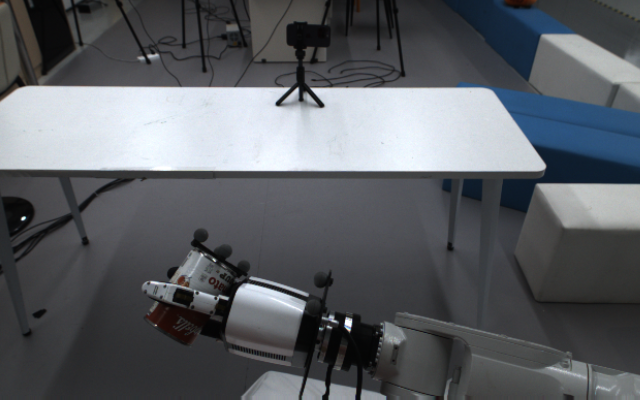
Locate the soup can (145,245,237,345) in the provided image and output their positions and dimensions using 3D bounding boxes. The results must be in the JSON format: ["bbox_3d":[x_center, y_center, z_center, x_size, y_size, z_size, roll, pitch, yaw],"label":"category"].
[{"bbox_3d":[-0.158,0.119,0.594,0.067,0.067,0.101,25,72,30],"label":"soup can"}]
